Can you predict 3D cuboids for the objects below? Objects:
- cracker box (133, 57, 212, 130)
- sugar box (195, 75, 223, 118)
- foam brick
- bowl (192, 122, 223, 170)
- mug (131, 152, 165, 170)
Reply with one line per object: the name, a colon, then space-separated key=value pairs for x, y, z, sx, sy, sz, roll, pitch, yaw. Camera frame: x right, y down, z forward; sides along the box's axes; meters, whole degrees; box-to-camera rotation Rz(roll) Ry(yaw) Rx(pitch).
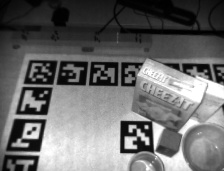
cracker box: x=0.152 y=0.035 z=0.606 sx=0.163 sy=0.214 sz=0.072 roll=27 pitch=63 yaw=14
sugar box: x=0.263 y=0.032 z=0.627 sx=0.092 sy=0.177 sz=0.045 roll=18 pitch=64 yaw=12
foam brick: x=0.168 y=0.158 z=0.622 sx=0.052 sy=0.078 sz=0.051 roll=13 pitch=62 yaw=9
bowl: x=0.290 y=0.184 z=0.604 sx=0.161 sy=0.055 sz=0.161 roll=0 pitch=63 yaw=0
mug: x=0.084 y=0.235 z=0.569 sx=0.117 sy=0.082 sz=0.092 roll=-8 pitch=54 yaw=-2
